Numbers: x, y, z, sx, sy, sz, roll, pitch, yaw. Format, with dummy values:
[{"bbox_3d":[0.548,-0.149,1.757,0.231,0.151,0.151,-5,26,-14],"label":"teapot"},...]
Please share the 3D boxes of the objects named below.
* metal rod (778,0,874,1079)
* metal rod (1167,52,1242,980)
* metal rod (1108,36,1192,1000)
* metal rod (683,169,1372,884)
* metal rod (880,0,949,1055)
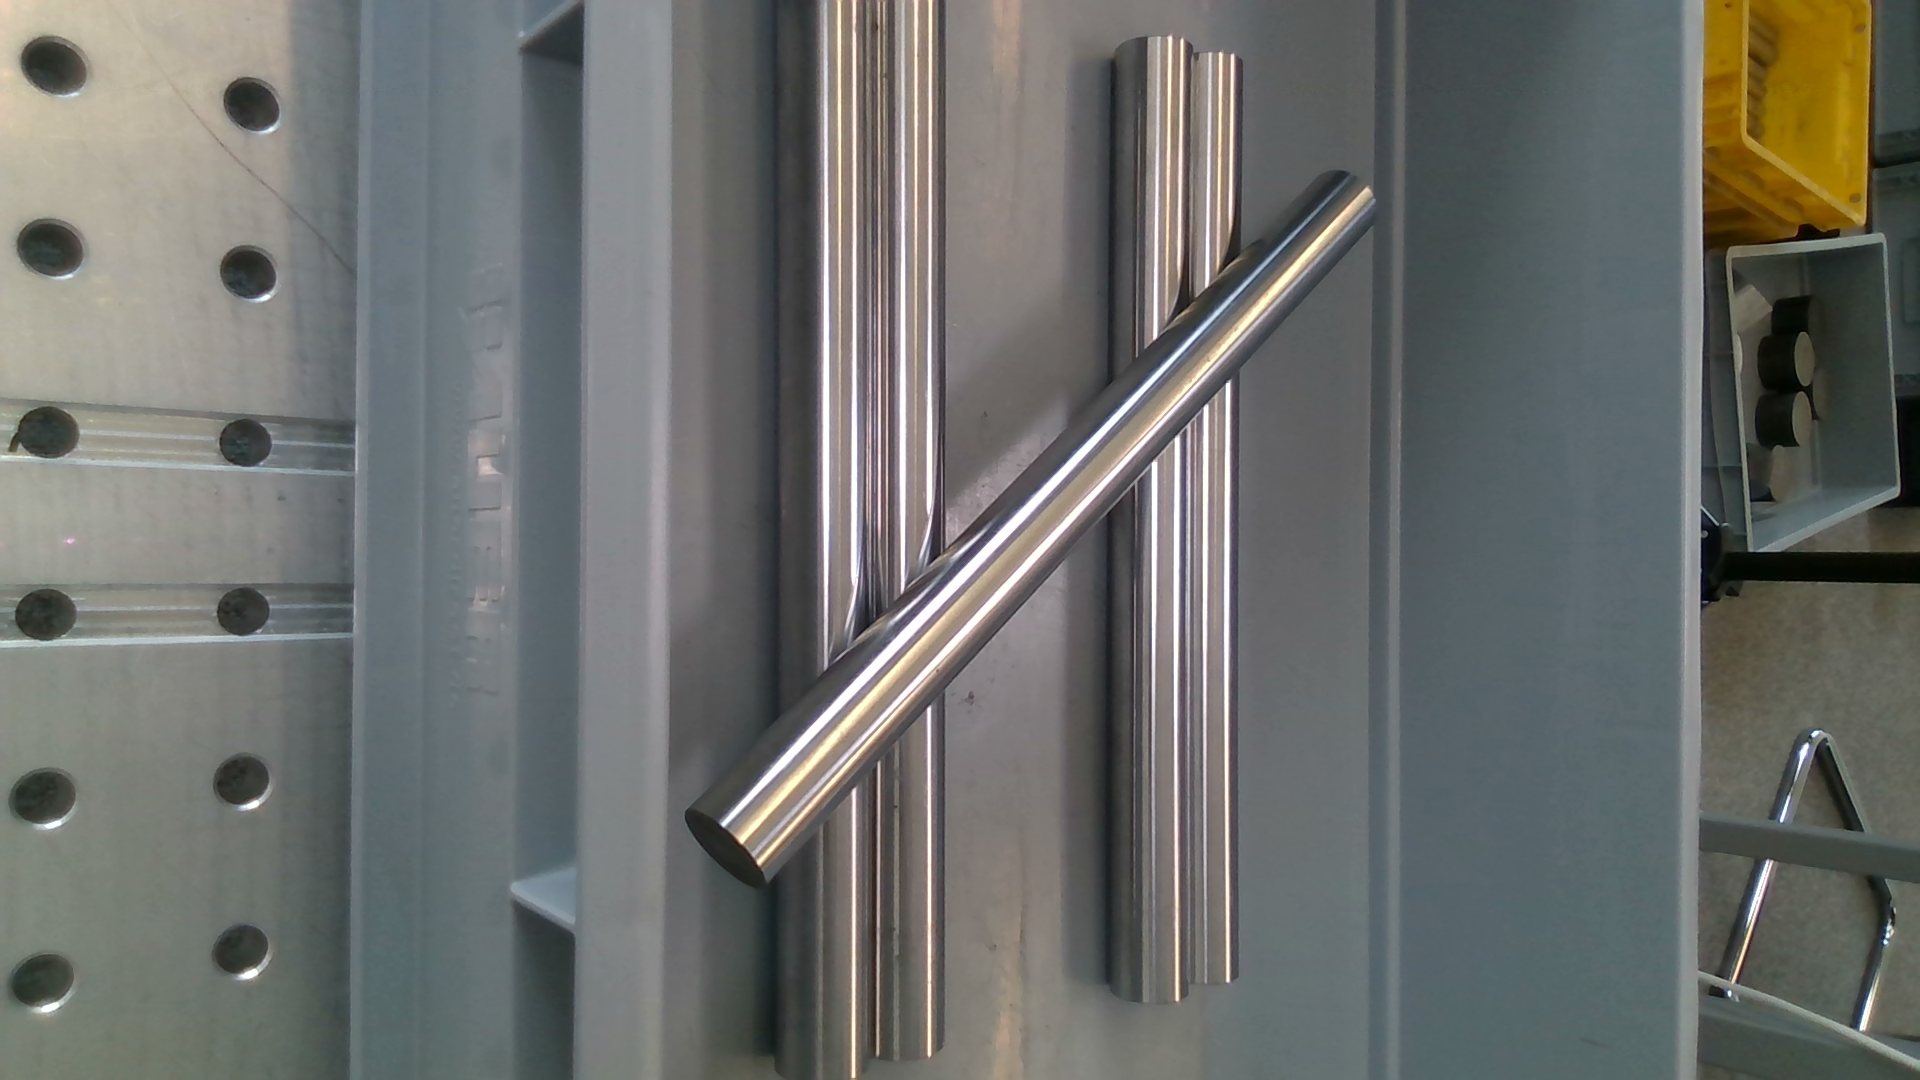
[{"bbox_3d":[-0.035,-0.014,0.360,0.025,0.025,0.300,0,90,-40],"label":"metal rod"},{"bbox_3d":[0.080,-0.008,0.457,0.025,0.025,0.300,0,90,-40],"label":"metal rod"},{"bbox_3d":[0.061,-0.007,0.441,0.025,0.025,0.300,0,90,-40],"label":"metal rod"},{"bbox_3d":[0.037,-0.022,0.389,0.299,0.025,0.025,-45,117,-31],"label":"metal rod"},{"bbox_3d":[-0.016,-0.014,0.376,0.025,0.025,0.300,0,90,-40],"label":"metal rod"}]
